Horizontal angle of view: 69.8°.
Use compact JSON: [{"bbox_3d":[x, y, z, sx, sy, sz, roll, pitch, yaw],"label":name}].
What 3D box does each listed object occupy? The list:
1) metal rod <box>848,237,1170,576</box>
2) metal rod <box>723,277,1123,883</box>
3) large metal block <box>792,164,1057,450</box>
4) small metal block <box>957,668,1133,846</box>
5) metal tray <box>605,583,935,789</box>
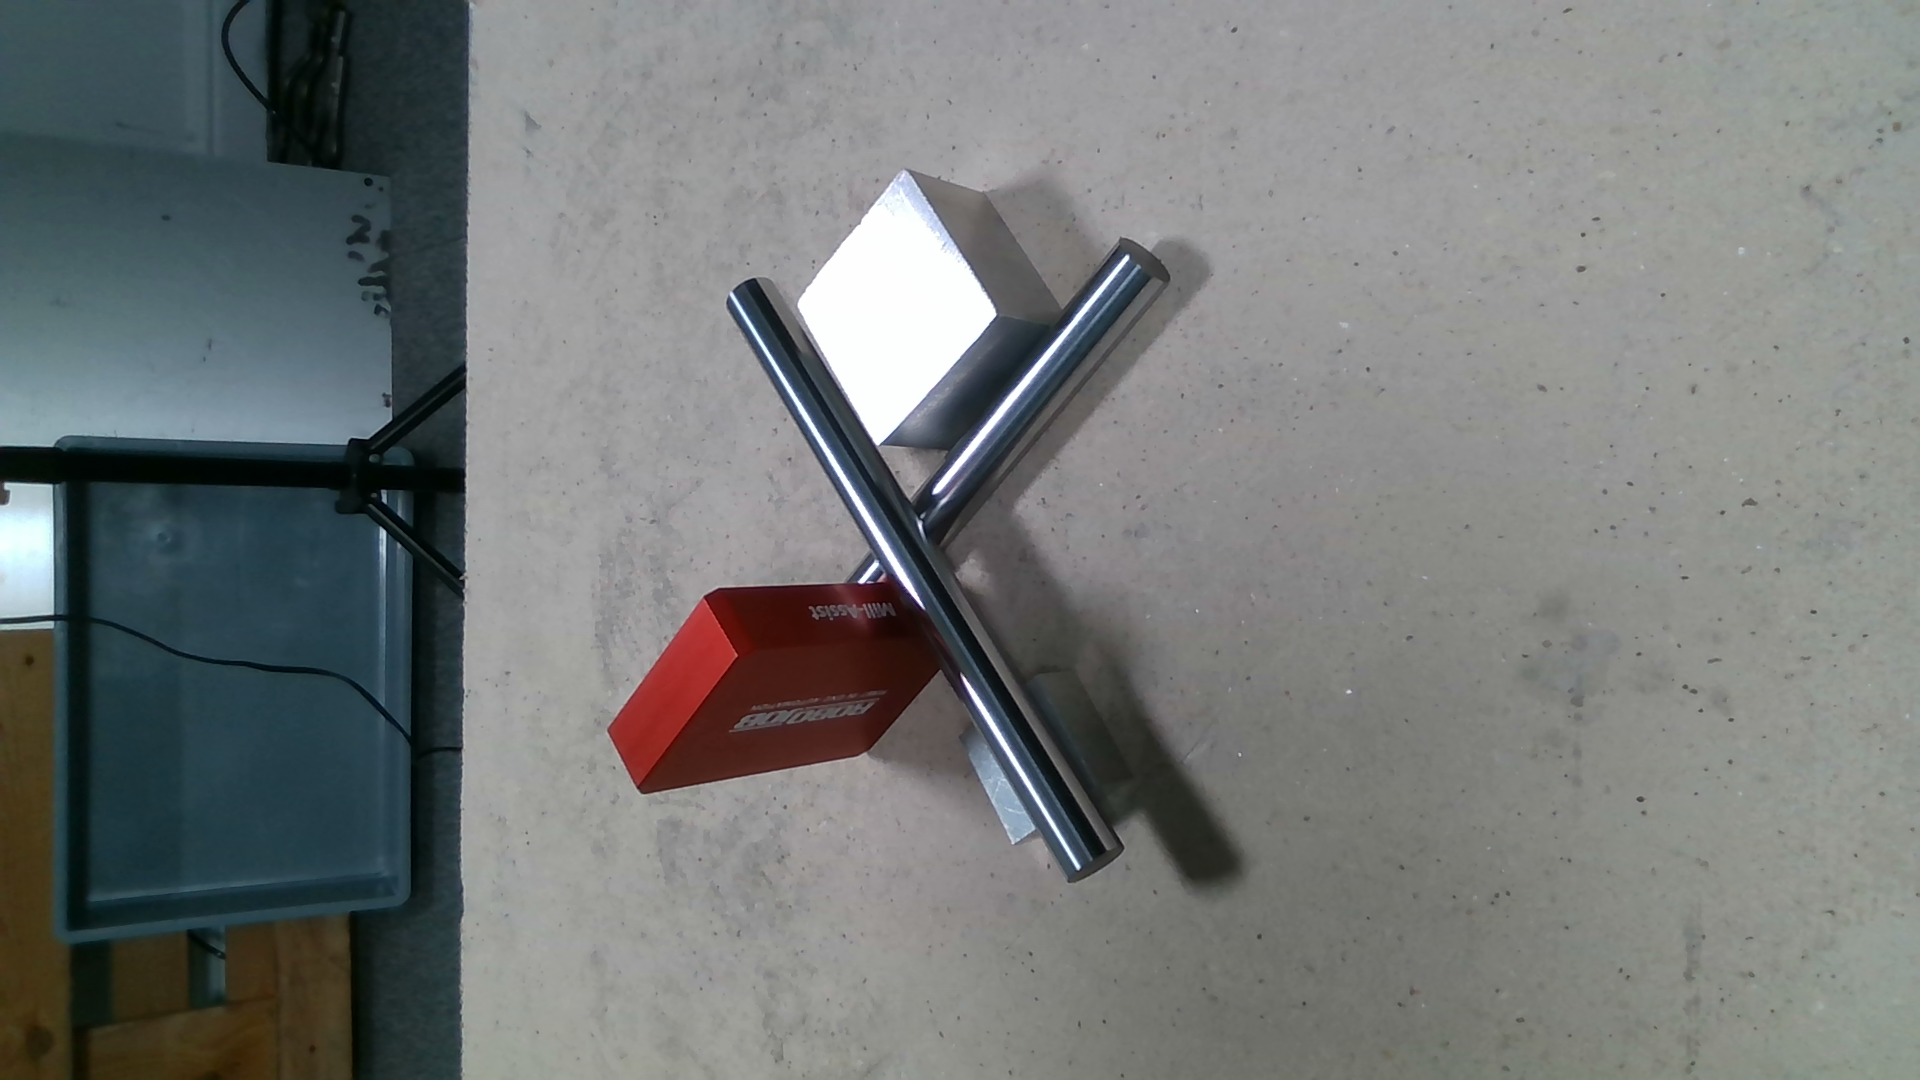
[{"bbox_3d":[-0.015,-0.007,0.595,0.301,0.025,0.025,-50,61,29],"label":"metal rod"},{"bbox_3d":[-0.024,0.005,0.569,0.025,0.025,0.299,-47,62,30],"label":"metal rod"},{"bbox_3d":[-0.013,-0.094,0.574,0.080,0.050,0.080,-45,63,31],"label":"large metal block"},{"bbox_3d":[0.033,0.087,0.555,0.050,0.025,0.050,-43,64,32],"label":"small metal block"},{"bbox_3d":[-0.069,0.059,0.572,0.090,0.130,0.030,-50,60,28],"label":"metal tray"}]
